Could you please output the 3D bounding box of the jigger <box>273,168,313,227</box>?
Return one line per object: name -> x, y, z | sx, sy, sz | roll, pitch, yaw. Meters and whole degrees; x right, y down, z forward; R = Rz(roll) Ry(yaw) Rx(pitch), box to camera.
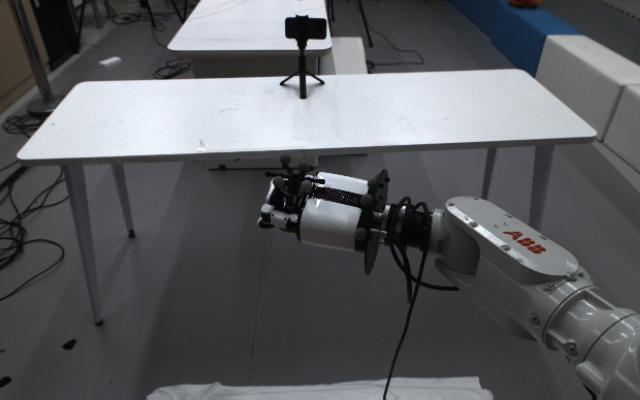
jigger -> -0.041, 0.011, 0.741 | 0.043, 0.071, 0.043 | 6, 32, -4
